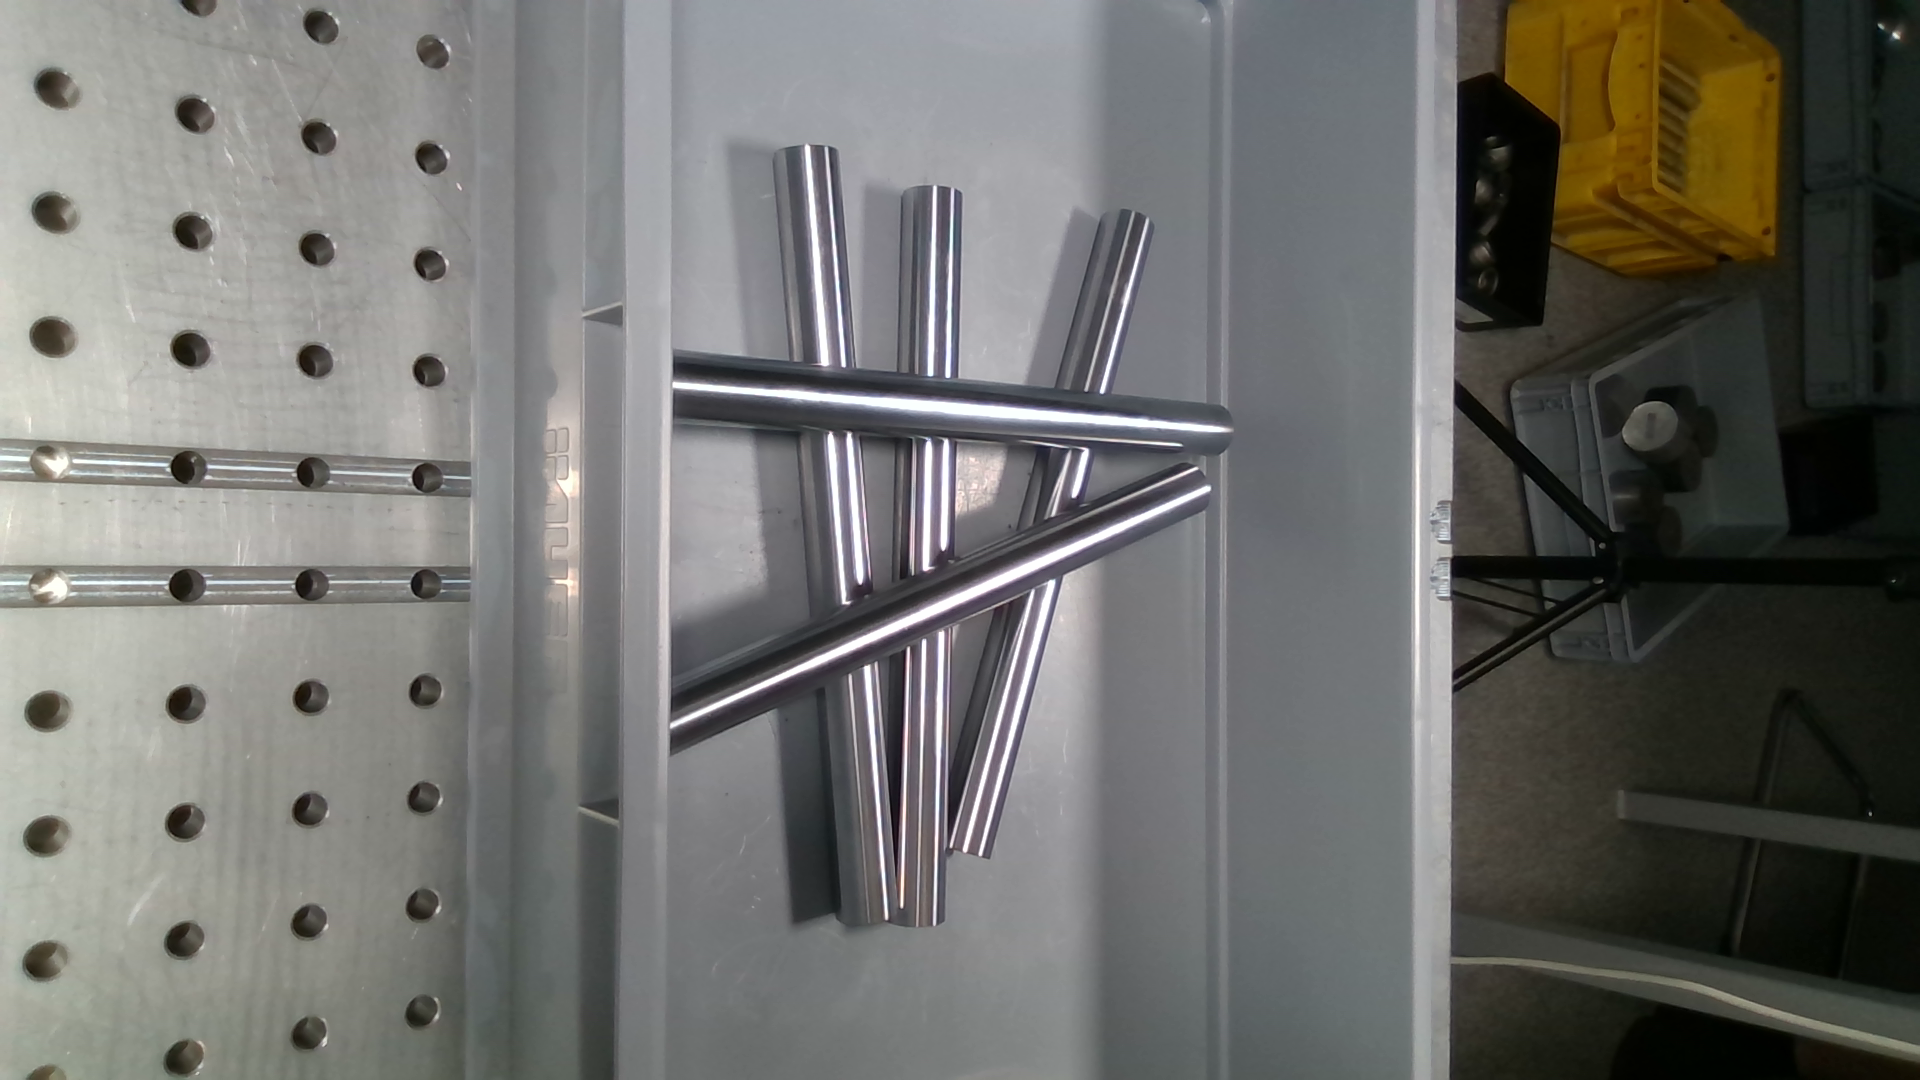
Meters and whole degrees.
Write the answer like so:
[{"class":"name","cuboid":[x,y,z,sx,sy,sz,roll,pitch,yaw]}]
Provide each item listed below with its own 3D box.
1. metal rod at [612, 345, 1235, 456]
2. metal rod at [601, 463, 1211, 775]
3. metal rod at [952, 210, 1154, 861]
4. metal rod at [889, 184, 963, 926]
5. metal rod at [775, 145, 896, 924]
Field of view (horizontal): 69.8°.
[{"class":"metal rod","cuboid":[0.005,-0.052,0.552,0.300,0.025,0.025,0,90,-40]},{"class":"metal rod","cuboid":[-0.003,0.021,0.547,0.300,0.025,0.025,-22,104,-38]},{"class":"metal rod","cuboid":[0.040,-0.008,0.615,0.025,0.025,0.299,26,74,-37]},{"class":"metal rod","cuboid":[-0.015,0.006,0.569,0.025,0.025,0.300,2,89,-40]},{"class":"metal rod","cuboid":[-0.048,0.000,0.541,0.025,0.025,0.300,-7,95,-40]}]
